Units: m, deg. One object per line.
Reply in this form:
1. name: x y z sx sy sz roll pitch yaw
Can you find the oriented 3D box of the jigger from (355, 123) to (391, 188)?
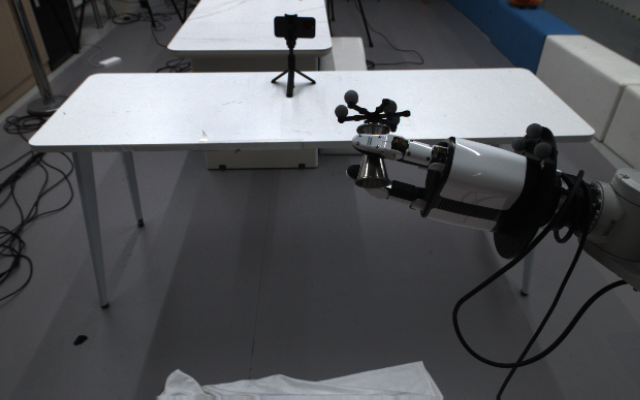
1. jigger: 0.062 -0.053 0.574 0.043 0.043 0.071 3 76 1
